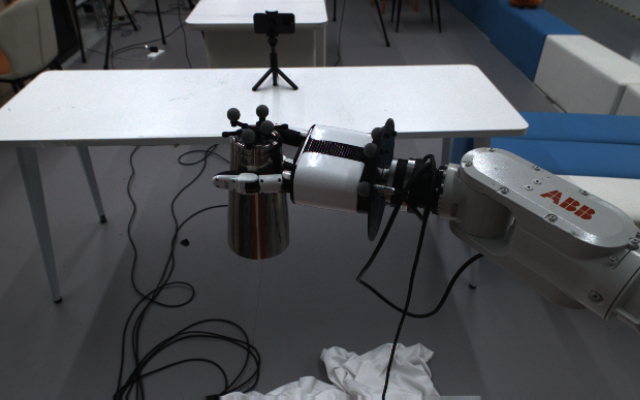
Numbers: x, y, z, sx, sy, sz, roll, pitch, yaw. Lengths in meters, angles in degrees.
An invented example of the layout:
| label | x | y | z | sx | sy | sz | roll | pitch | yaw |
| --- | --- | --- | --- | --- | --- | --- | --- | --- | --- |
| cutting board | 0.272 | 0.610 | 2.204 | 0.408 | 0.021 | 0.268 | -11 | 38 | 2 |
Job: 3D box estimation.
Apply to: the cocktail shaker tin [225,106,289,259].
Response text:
| label | x | y | z | sx | sy | sz | roll | pitch | yaw |
| --- | --- | --- | --- | --- | --- | --- | --- | --- | --- |
| cocktail shaker tin | -0.085 | -0.015 | 0.679 | 0.093 | 0.170 | 0.093 | 2 | 33 | -2 |
